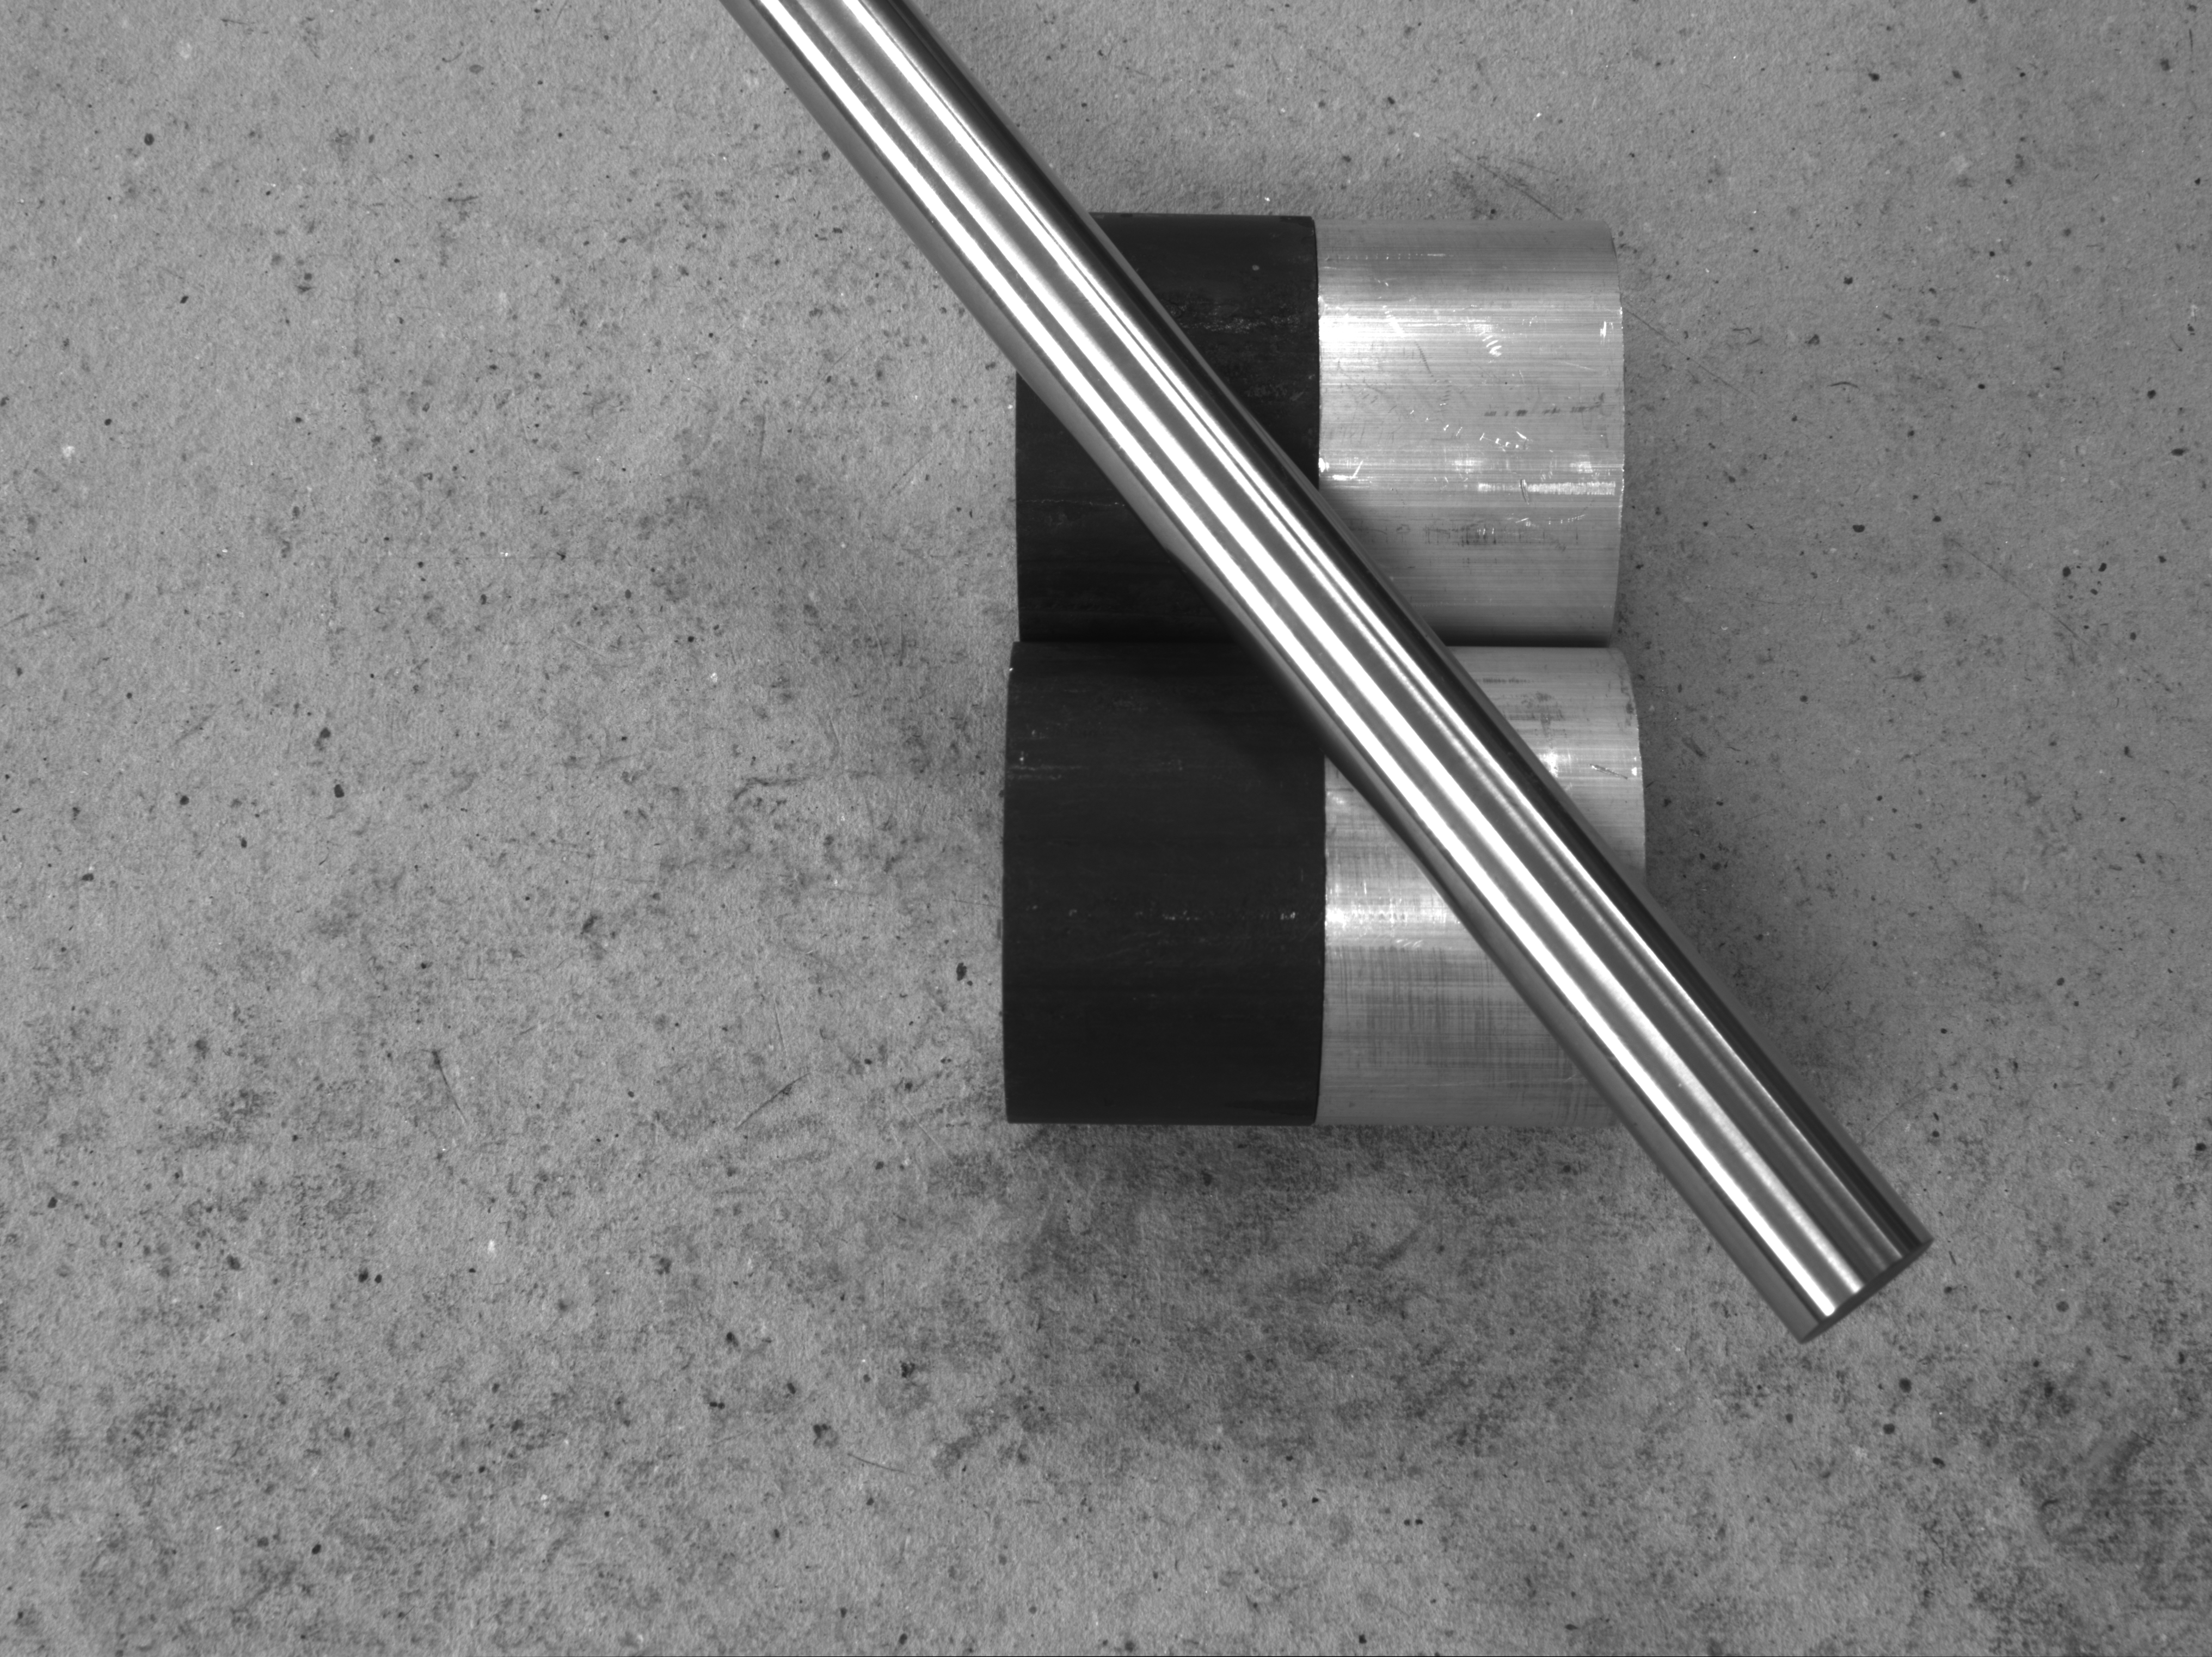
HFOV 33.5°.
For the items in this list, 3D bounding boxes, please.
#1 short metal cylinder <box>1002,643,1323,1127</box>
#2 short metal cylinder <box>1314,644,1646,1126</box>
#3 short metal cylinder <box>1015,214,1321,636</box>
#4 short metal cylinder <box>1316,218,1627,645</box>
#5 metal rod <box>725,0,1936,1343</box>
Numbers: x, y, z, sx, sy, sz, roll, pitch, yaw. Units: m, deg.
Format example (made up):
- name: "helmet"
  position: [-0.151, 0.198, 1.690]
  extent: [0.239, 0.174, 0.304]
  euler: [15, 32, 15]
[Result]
- name: "short metal cylinder"
  position: [0.009, 0.009, 0.613]
  extent: [0.050, 0.080, 0.080]
  euler: [1, 70, 1]
- name: "short metal cylinder"
  position: [0.060, 0.009, 0.613]
  extent: [0.050, 0.080, 0.080]
  euler: [1, 70, 1]
- name: "short metal cylinder"
  position: [0.011, -0.067, 0.641]
  extent: [0.050, 0.080, 0.080]
  euler: [1, 70, 1]
- name: "short metal cylinder"
  position: [0.061, -0.066, 0.641]
  extent: [0.050, 0.080, 0.080]
  euler: [1, 70, 1]
- name: "metal rod"
  position: [0.023, -0.046, 0.577]
  extent: [0.025, 0.025, 0.300]
  euler: [-34, 74, -12]
